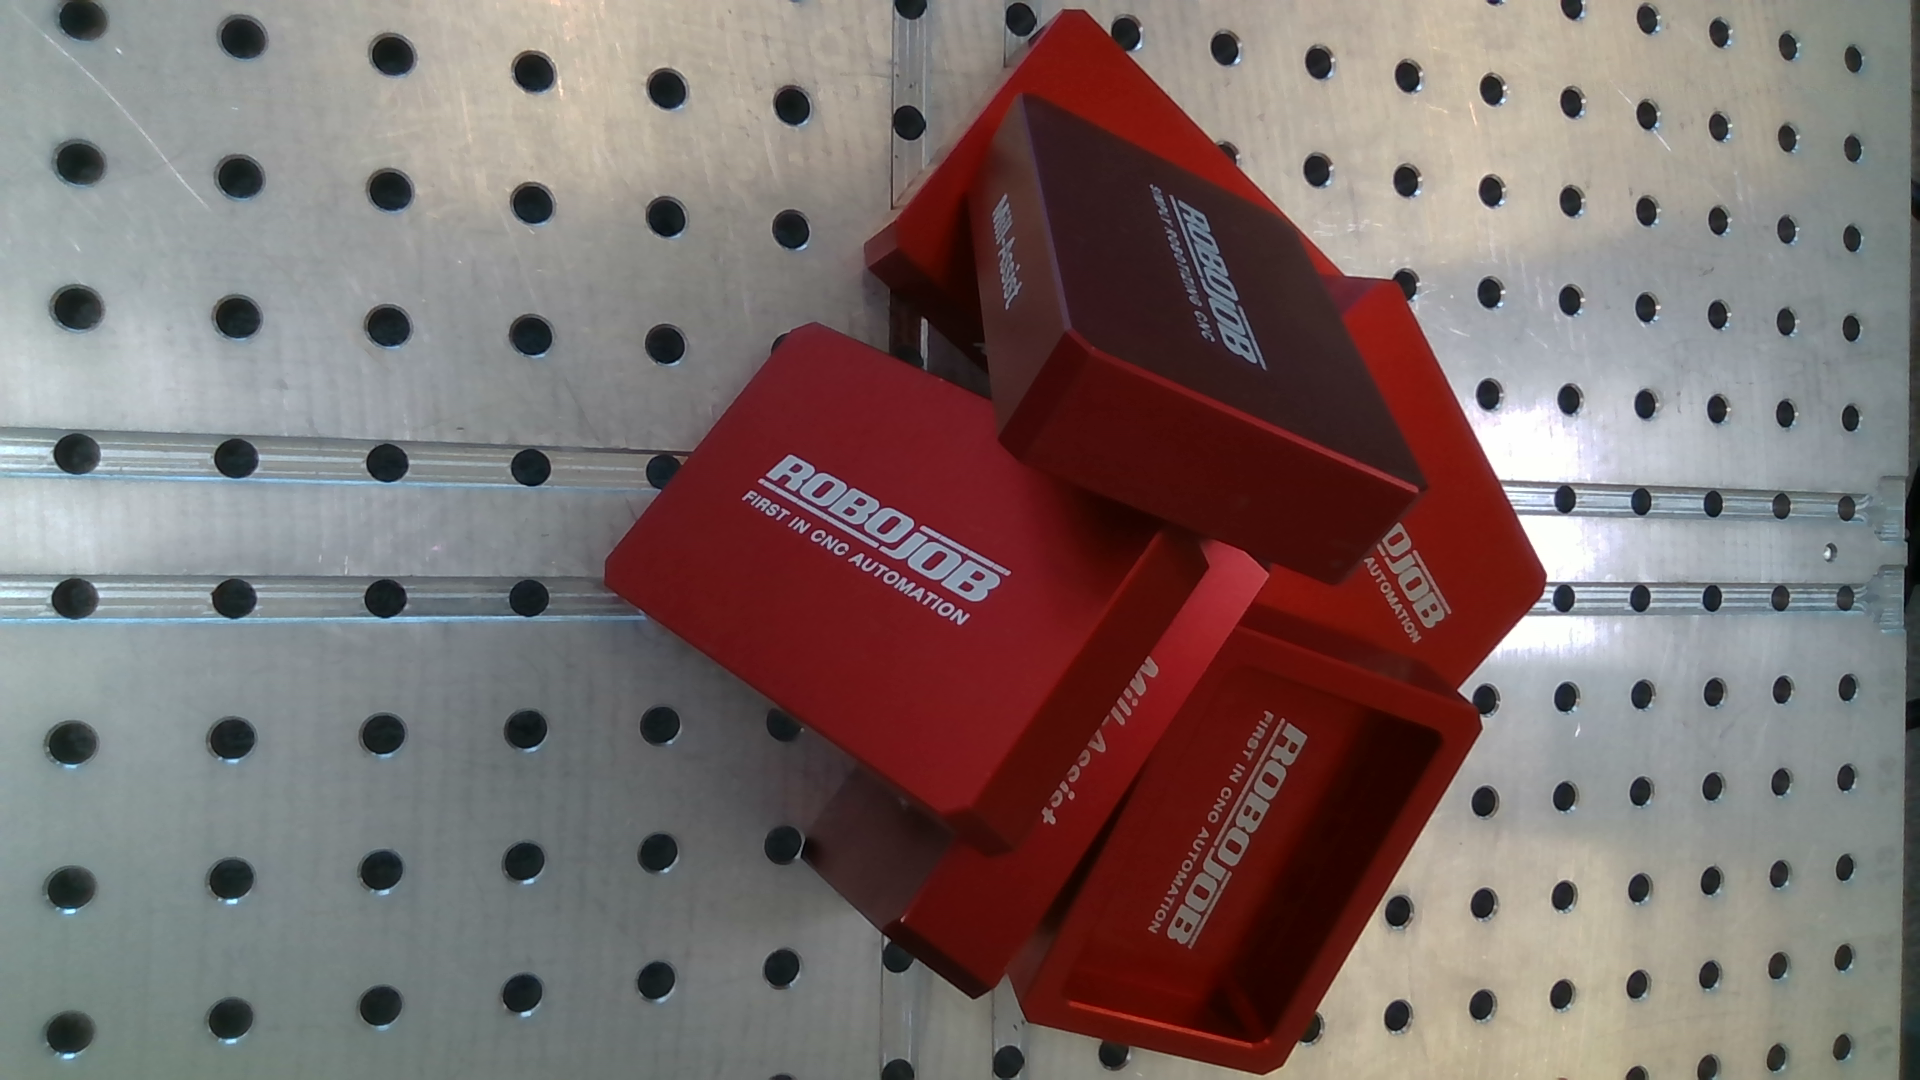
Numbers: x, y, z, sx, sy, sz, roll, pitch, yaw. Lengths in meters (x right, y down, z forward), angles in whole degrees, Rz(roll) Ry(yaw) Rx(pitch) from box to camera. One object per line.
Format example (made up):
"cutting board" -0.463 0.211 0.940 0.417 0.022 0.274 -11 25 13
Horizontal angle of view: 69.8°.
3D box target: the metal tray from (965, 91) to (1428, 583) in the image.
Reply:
"metal tray" 0.051 -0.054 0.334 0.090 0.130 0.030 20 125 -19

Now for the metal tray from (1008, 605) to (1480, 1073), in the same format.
"metal tray" 0.078 0.086 0.397 0.090 0.030 0.130 19 106 -19

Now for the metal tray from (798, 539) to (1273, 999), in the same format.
"metal tray" 0.017 0.047 0.367 0.030 0.090 0.130 40 77 -16

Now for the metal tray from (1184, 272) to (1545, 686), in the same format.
"metal tray" 0.117 -0.004 0.417 0.090 0.030 0.130 -44 118 -11

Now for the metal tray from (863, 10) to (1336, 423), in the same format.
"metal tray" 0.048 -0.078 0.411 0.130 0.030 0.090 40 78 -16

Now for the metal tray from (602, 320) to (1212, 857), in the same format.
"metal tray" -0.017 0.006 0.339 0.090 0.130 0.030 -53 145 -13
